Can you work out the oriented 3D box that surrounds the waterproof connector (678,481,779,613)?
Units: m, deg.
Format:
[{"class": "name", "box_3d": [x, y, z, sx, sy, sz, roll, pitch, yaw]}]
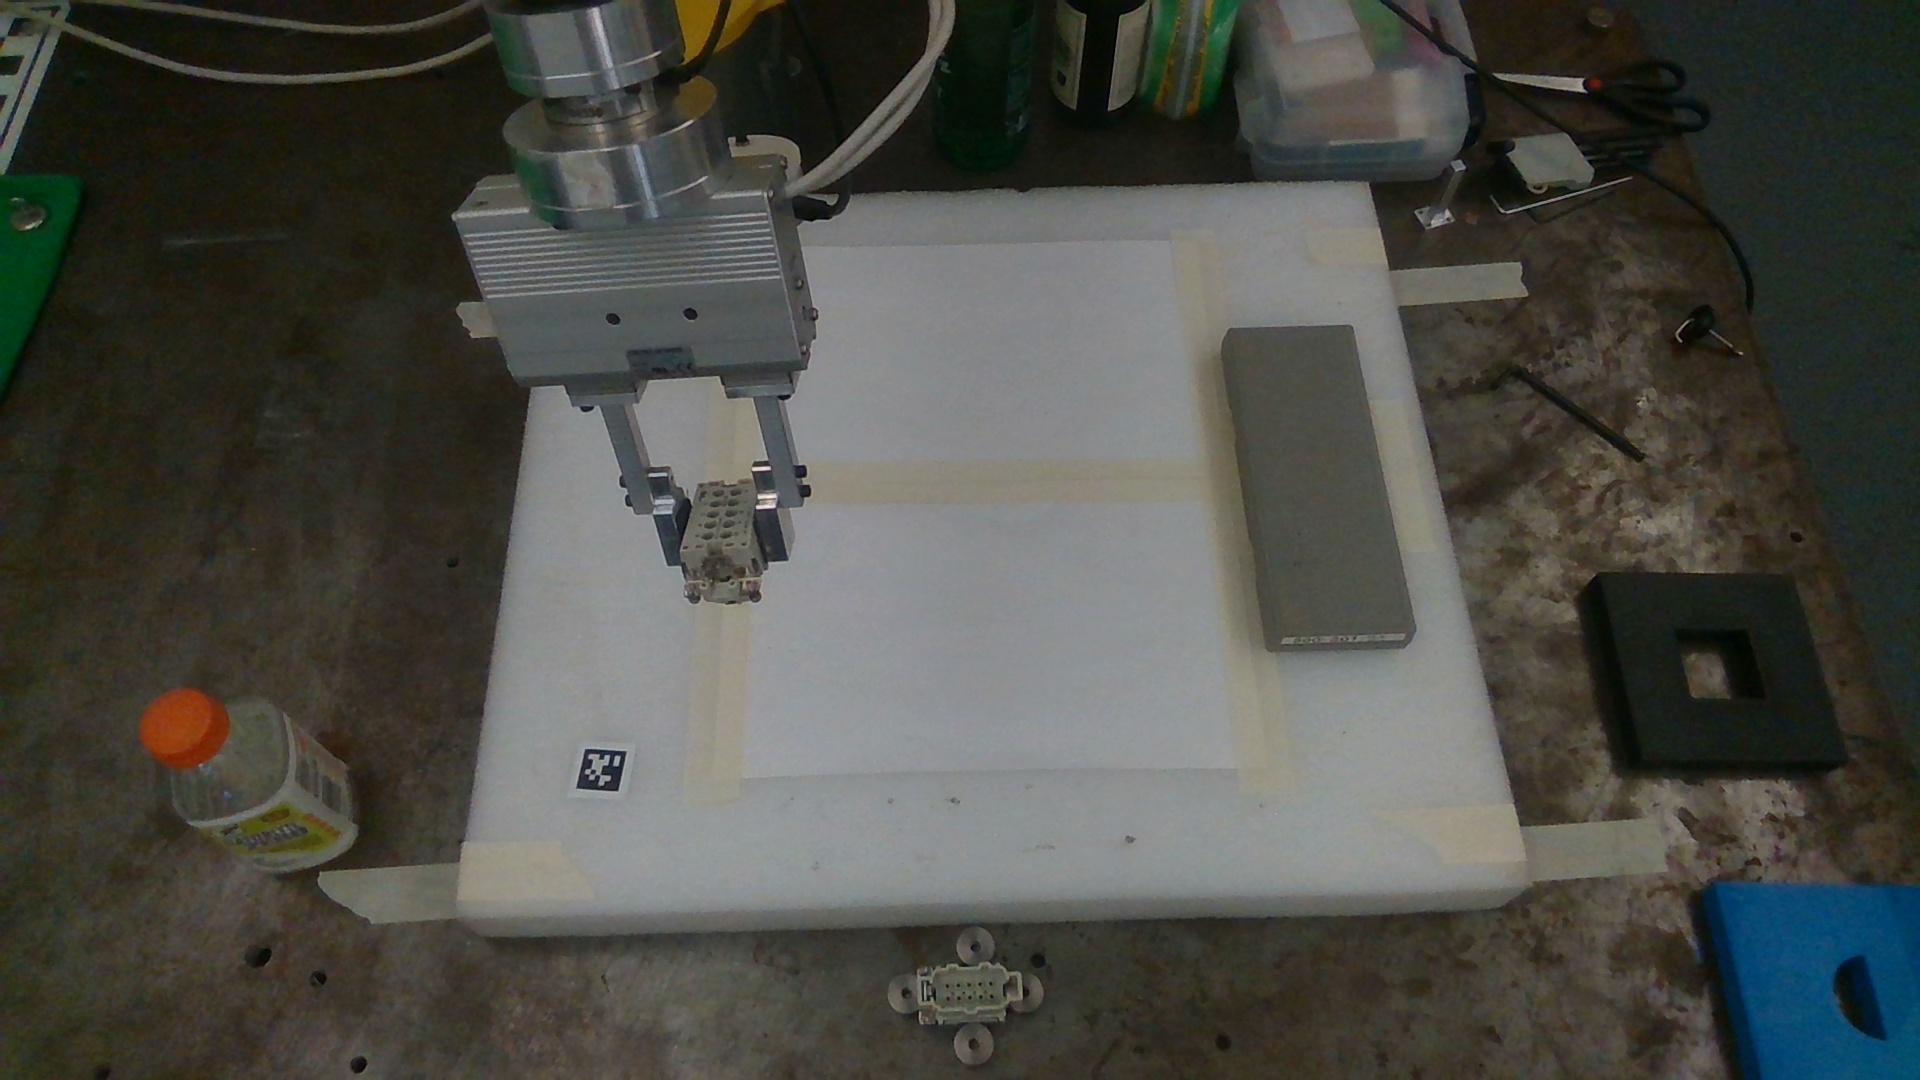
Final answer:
[{"class": "waterproof connector", "box_3d": [-0.106, 0.003, 0.643, 0.037, 0.038, 0.069, 0, 48, 5]}]
